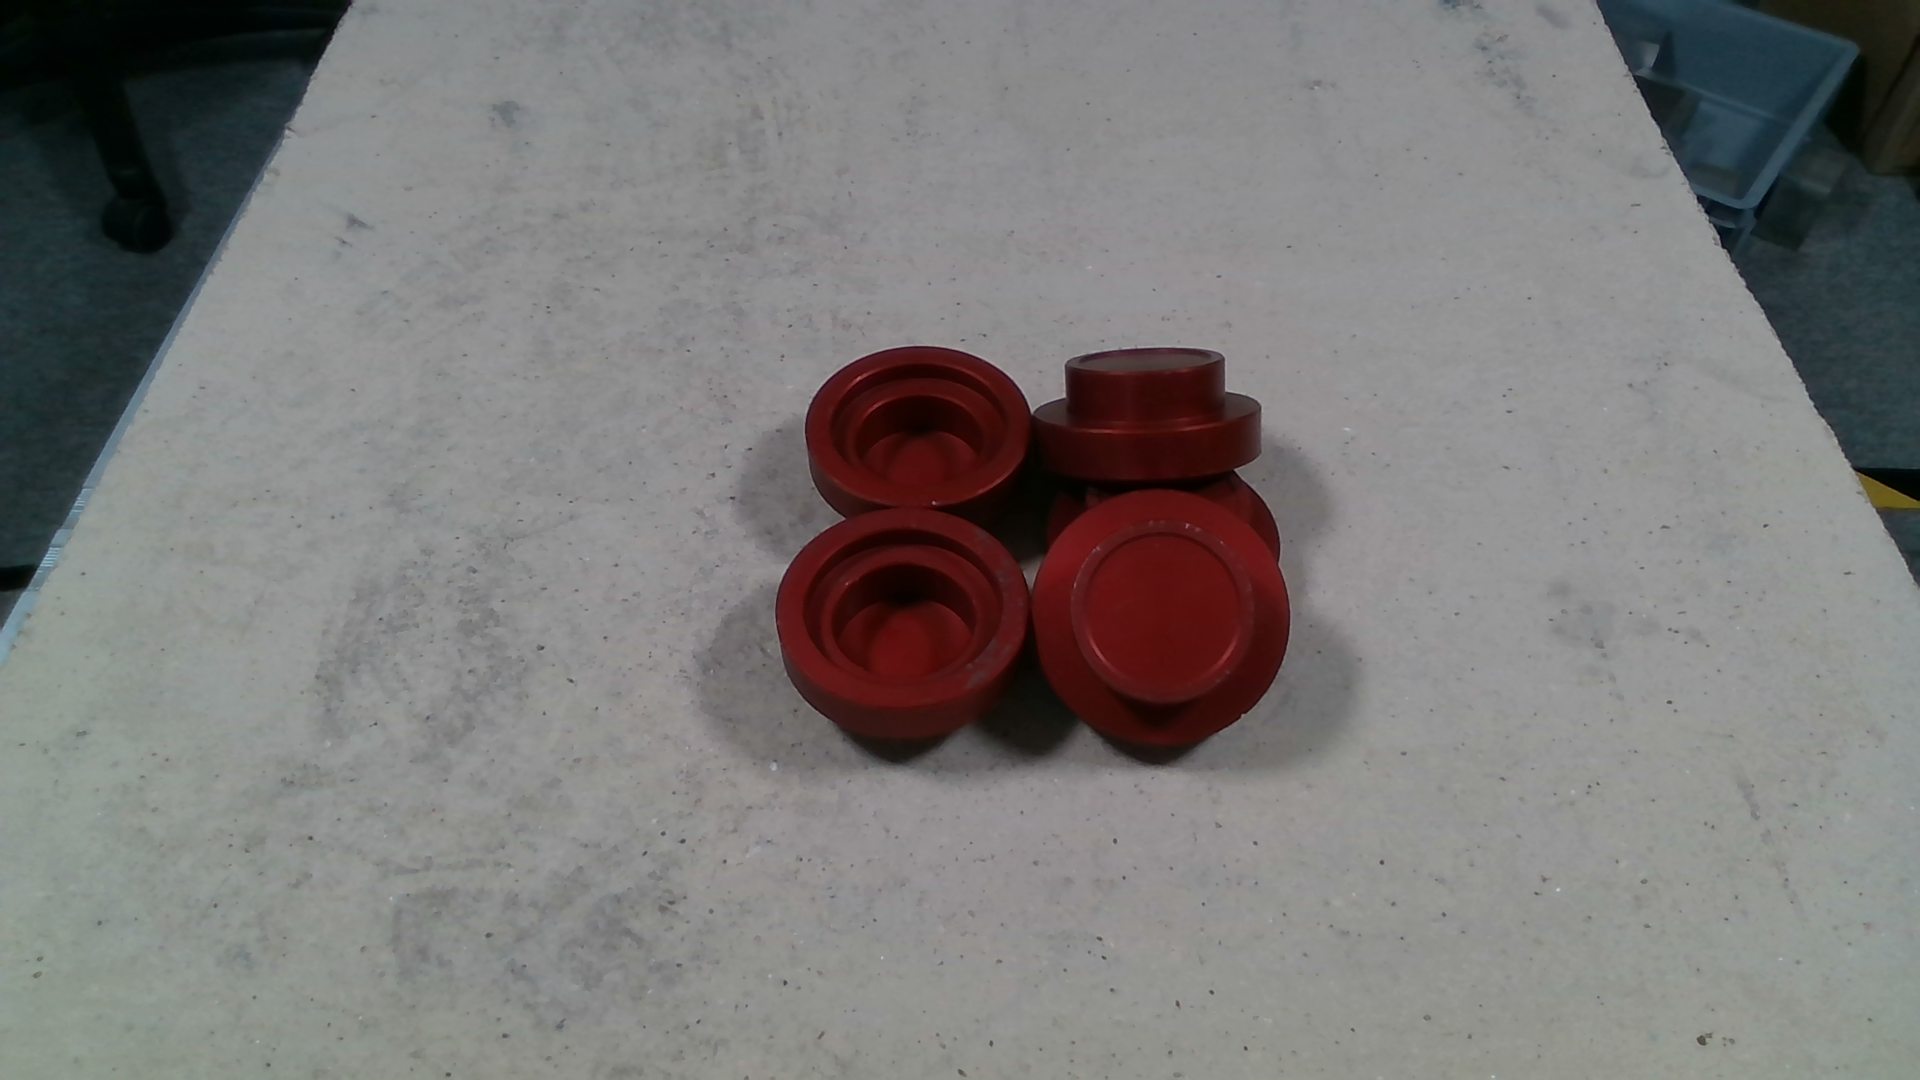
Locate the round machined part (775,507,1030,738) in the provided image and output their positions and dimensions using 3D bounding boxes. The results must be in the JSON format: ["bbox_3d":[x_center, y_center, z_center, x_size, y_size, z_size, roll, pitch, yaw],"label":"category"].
[{"bbox_3d":[-0.022,0.037,0.545,0.098,0.042,0.098,0,50,0],"label":"round machined part"}]

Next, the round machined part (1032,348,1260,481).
[{"bbox_3d":[0.080,-0.058,0.593,0.098,0.042,0.098,-3,17,1],"label":"round machined part"}]

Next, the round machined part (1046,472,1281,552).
[{"bbox_3d":[0.085,-0.004,0.578,0.098,0.042,0.098,0,50,0],"label":"round machined part"}]

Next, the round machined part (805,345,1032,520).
[{"bbox_3d":[-0.018,-0.038,0.608,0.098,0.042,0.098,0,50,0],"label":"round machined part"}]

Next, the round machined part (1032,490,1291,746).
[{"bbox_3d":[0.076,0.029,0.524,0.098,0.042,0.098,-1,81,5],"label":"round machined part"}]
